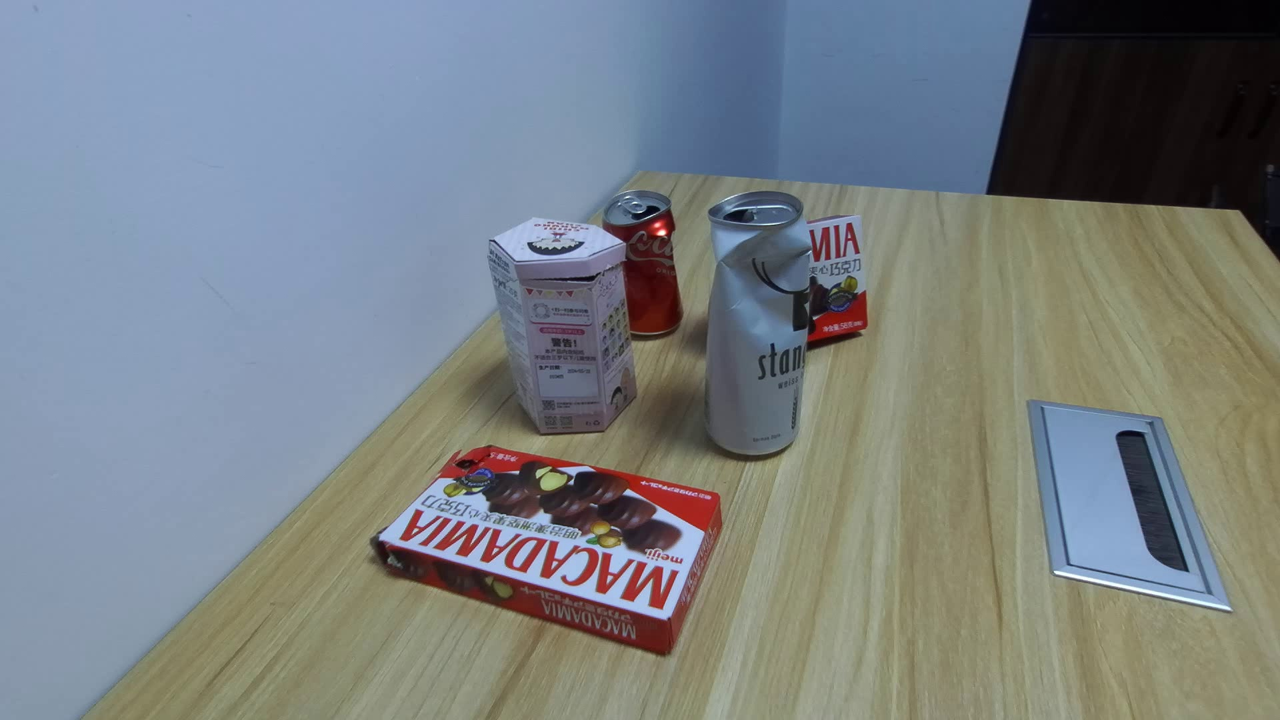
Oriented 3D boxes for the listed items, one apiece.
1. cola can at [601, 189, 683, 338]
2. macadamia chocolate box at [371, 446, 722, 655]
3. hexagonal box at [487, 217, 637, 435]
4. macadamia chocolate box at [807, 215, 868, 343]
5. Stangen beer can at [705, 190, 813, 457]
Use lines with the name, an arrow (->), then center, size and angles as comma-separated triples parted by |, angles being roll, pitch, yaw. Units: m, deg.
cola can -> 0.000, -0.081, 0.598 | 0.065, 0.113, 0.069 | -7, 37, -1
macadamia chocolate box -> -0.054, 0.099, 0.415 | 0.186, 0.027, 0.103 | 9, 34, 19
hexagonal box -> -0.051, -0.024, 0.495 | 0.092, 0.135, 0.085 | -2, 33, 4
macadamia chocolate box -> 0.119, -0.064, 0.556 | 0.127, 0.112, 0.056 | -13, 33, -14
Stangen beer can -> 0.071, -0.018, 0.444 | 0.066, 0.166, 0.066 | -11, 34, -9
